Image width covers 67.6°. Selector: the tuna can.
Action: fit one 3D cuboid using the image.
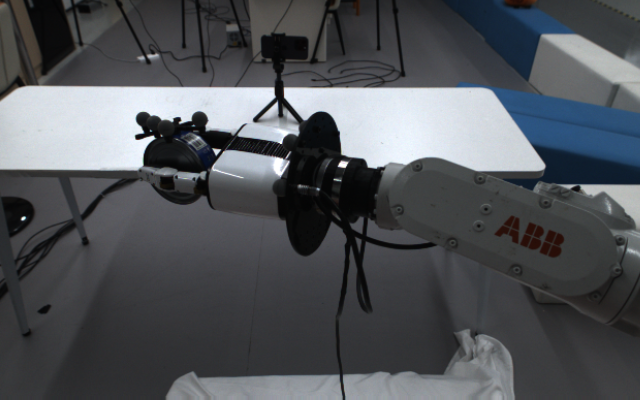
[{"bbox_3d":[-0.165,-0.040,0.581,0.085,0.085,0.034,14,29,17],"label":"tuna can"}]
